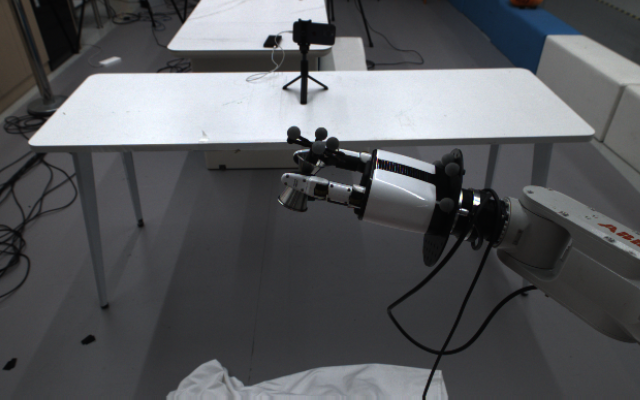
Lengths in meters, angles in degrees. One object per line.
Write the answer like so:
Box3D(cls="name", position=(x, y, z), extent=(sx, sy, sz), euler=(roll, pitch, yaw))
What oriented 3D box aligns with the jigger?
Box3D(cls="jigger", position=(-0.025, -0.024, 0.639), extent=(0.043, 0.071, 0.043), euler=(23, 19, -8))
